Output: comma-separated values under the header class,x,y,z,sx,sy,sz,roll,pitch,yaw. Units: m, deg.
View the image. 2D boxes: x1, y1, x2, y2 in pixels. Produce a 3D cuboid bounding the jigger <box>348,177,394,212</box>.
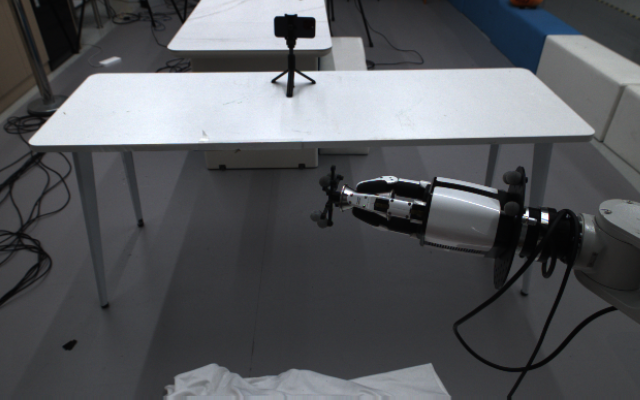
class,x,y,z,sx,sy,sz,roll,pitch,yaw
jigger,0.071,-0.002,0.662,0.071,0.043,0.043,8,35,16
